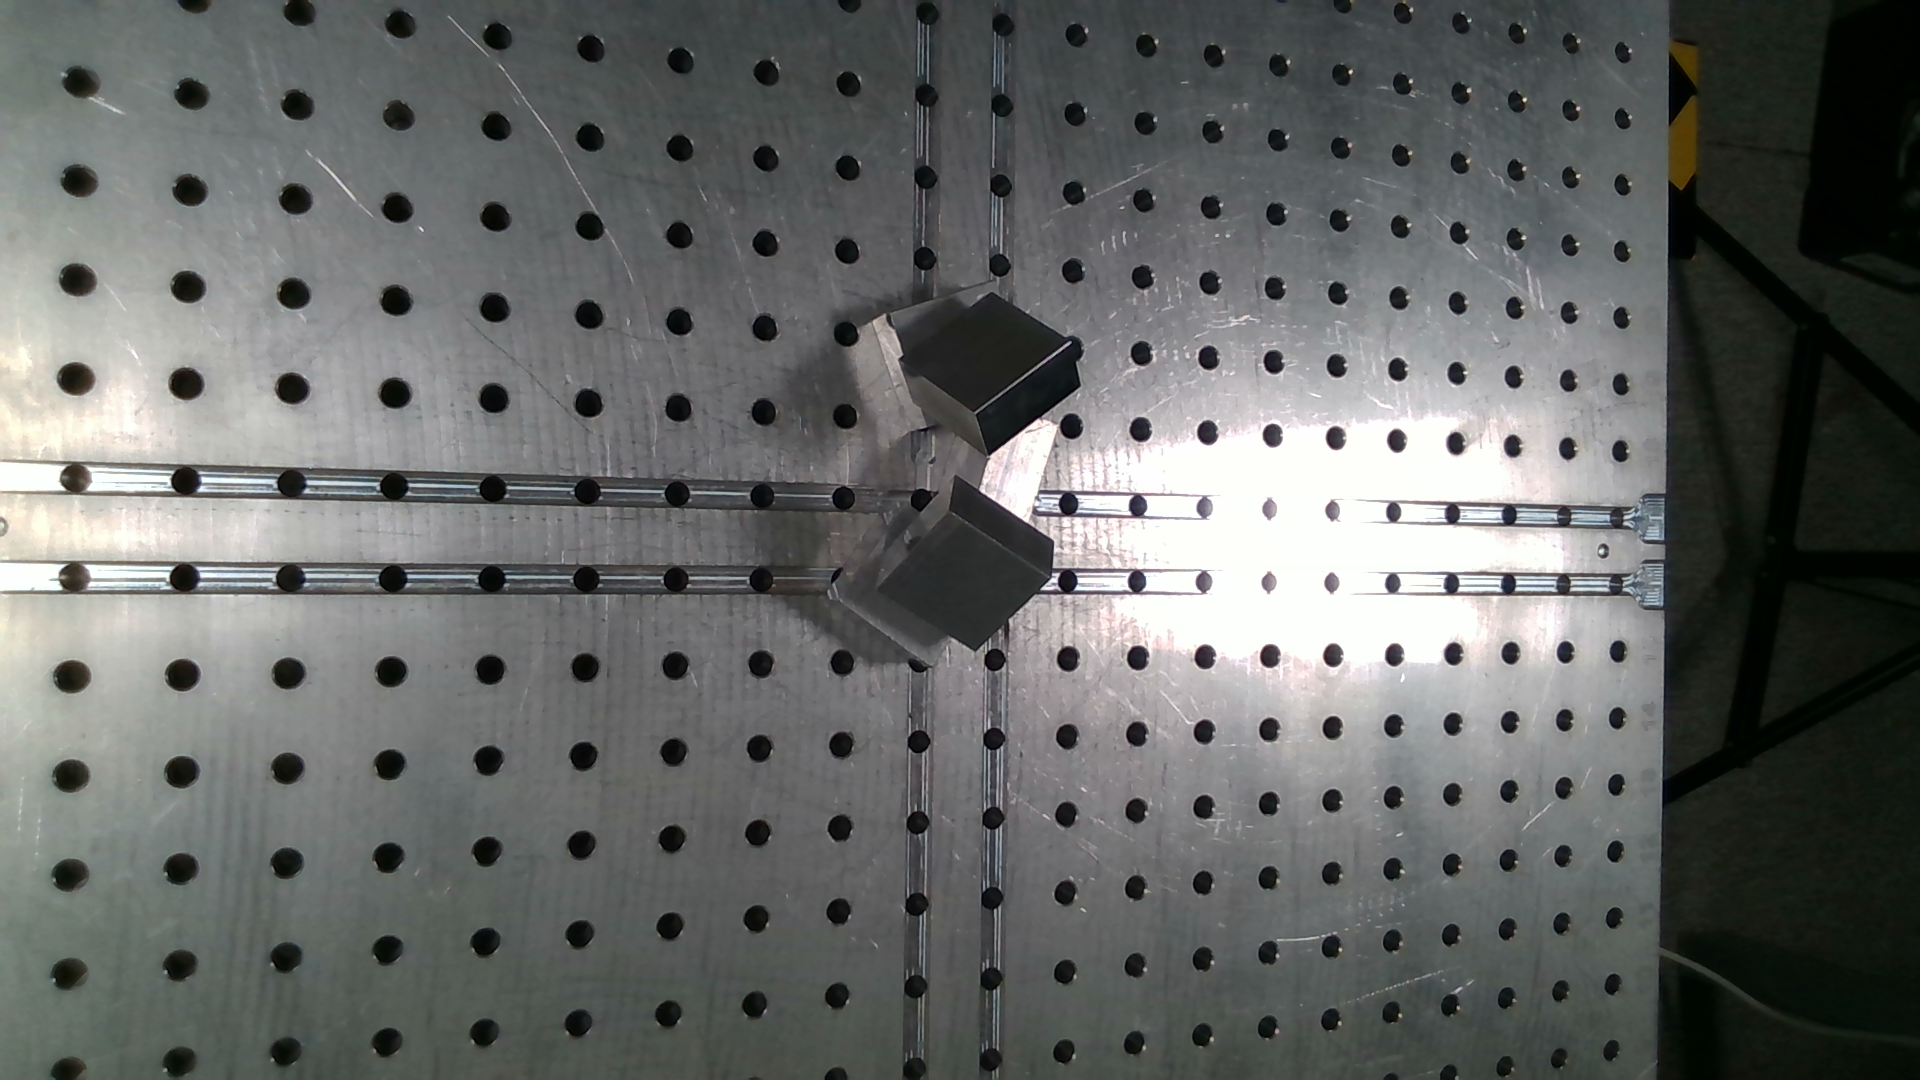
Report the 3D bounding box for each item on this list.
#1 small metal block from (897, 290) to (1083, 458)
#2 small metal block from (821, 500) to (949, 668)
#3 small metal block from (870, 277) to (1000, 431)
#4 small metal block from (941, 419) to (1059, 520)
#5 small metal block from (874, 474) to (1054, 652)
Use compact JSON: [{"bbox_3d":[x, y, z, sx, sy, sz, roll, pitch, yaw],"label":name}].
[{"bbox_3d":[0.012,-0.067,0.550,0.050,0.050,0.025,-38,141,-16],"label":"small metal block"},{"bbox_3d":[-0.022,0.018,0.581,0.050,0.025,0.050,37,78,-17],"label":"small metal block"},{"bbox_3d":[-0.004,-0.079,0.587,0.050,0.025,0.050,-21,97,-19],"label":"small metal block"},{"bbox_3d":[0.013,-0.028,0.580,0.025,0.050,0.050,20,83,-19],"label":"small metal block"},{"bbox_3d":[0.002,0.010,0.548,0.050,0.025,0.050,33,123,-18],"label":"small metal block"}]
